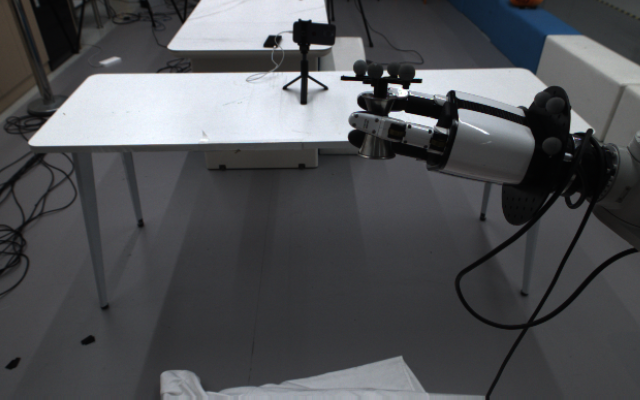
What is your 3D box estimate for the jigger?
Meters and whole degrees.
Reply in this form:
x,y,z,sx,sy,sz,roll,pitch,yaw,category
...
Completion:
x,y,z,sx,sy,sz,roll,pitch,yaw,category
0.065,-0.085,0.555,0.043,0.071,0.043,1,20,0,jigger
